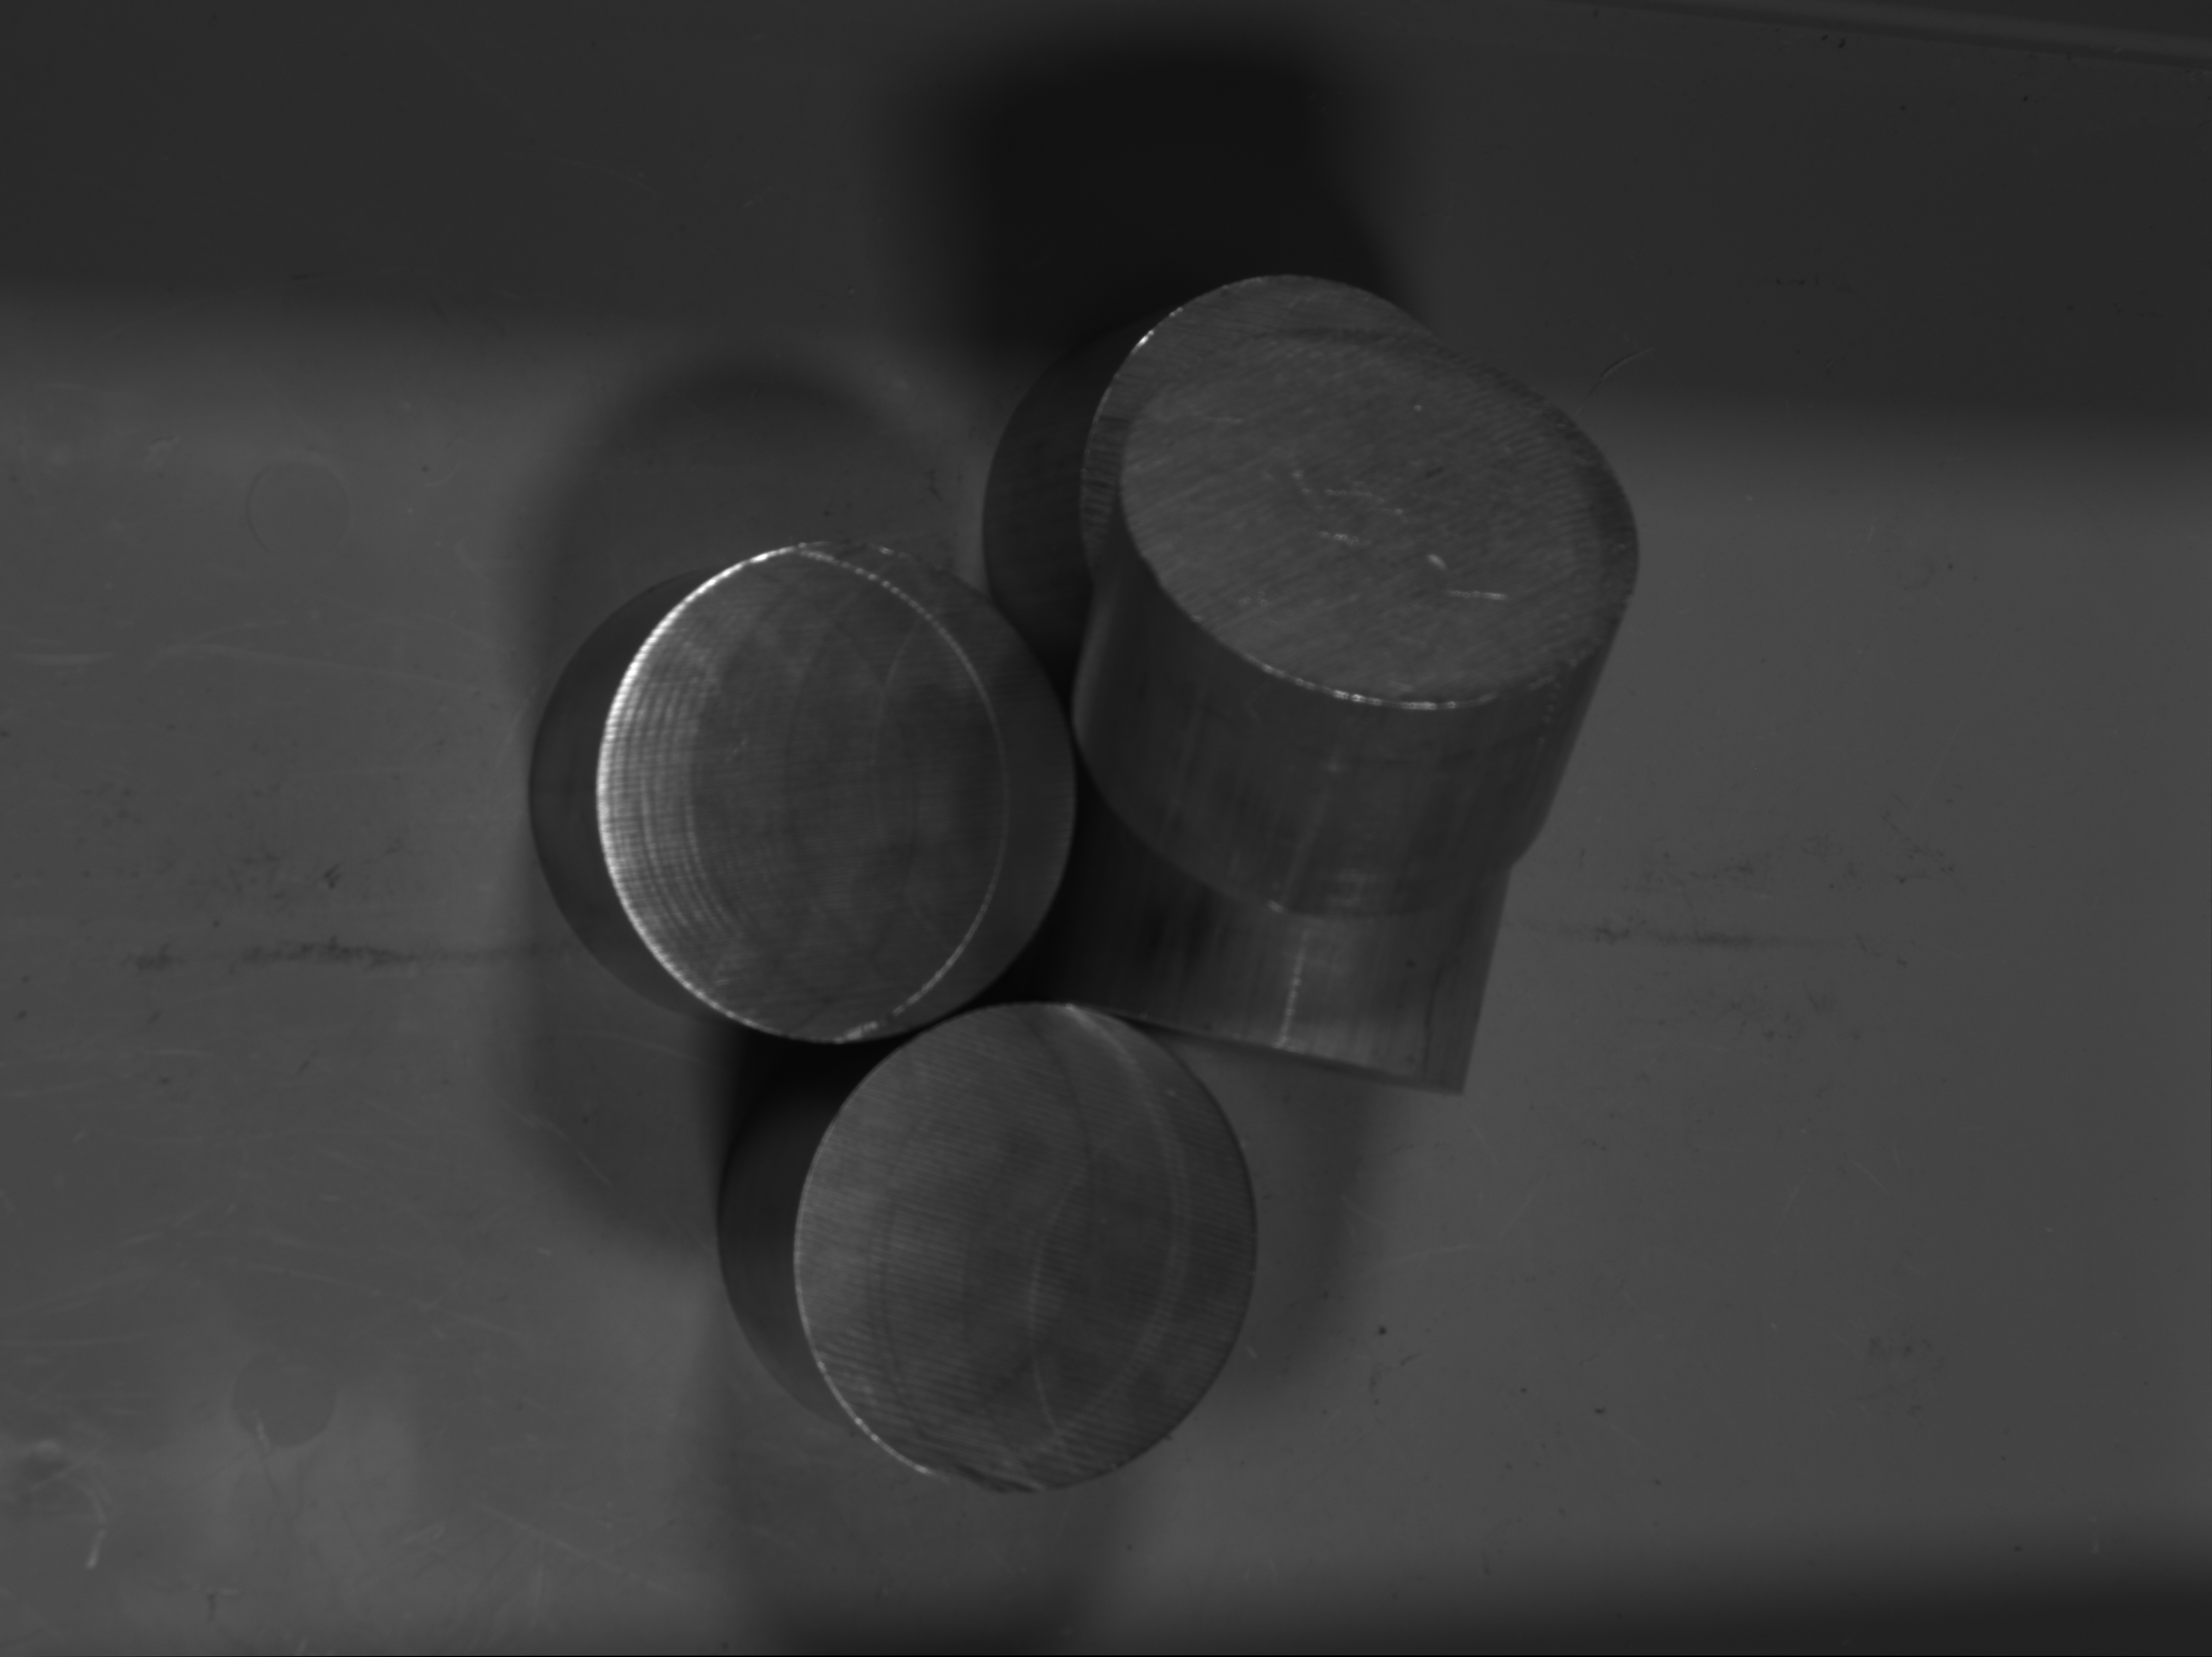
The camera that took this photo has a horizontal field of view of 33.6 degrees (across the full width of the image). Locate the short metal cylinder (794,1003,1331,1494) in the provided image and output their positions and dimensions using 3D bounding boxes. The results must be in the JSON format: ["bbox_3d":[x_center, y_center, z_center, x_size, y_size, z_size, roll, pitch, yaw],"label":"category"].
[{"bbox_3d":[-0.008,0.069,0.625,0.080,0.050,0.080,0,90,-20],"label":"short metal cylinder"}]

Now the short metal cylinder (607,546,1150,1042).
[{"bbox_3d":[-0.039,-0.005,0.614,0.080,0.050,0.080,0,90,-20],"label":"short metal cylinder"}]

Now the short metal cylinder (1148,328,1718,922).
[{"bbox_3d":[0.050,-0.032,0.572,0.080,0.050,0.080,6,50,-6],"label":"short metal cylinder"}]

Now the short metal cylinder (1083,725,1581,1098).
[{"bbox_3d":[0.040,0.013,0.628,0.080,0.080,0.050,14,85,-19],"label":"short metal cylinder"}]

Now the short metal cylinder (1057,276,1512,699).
[{"bbox_3d":[0.037,-0.053,0.642,0.080,0.050,0.080,0,90,-20],"label":"short metal cylinder"}]
